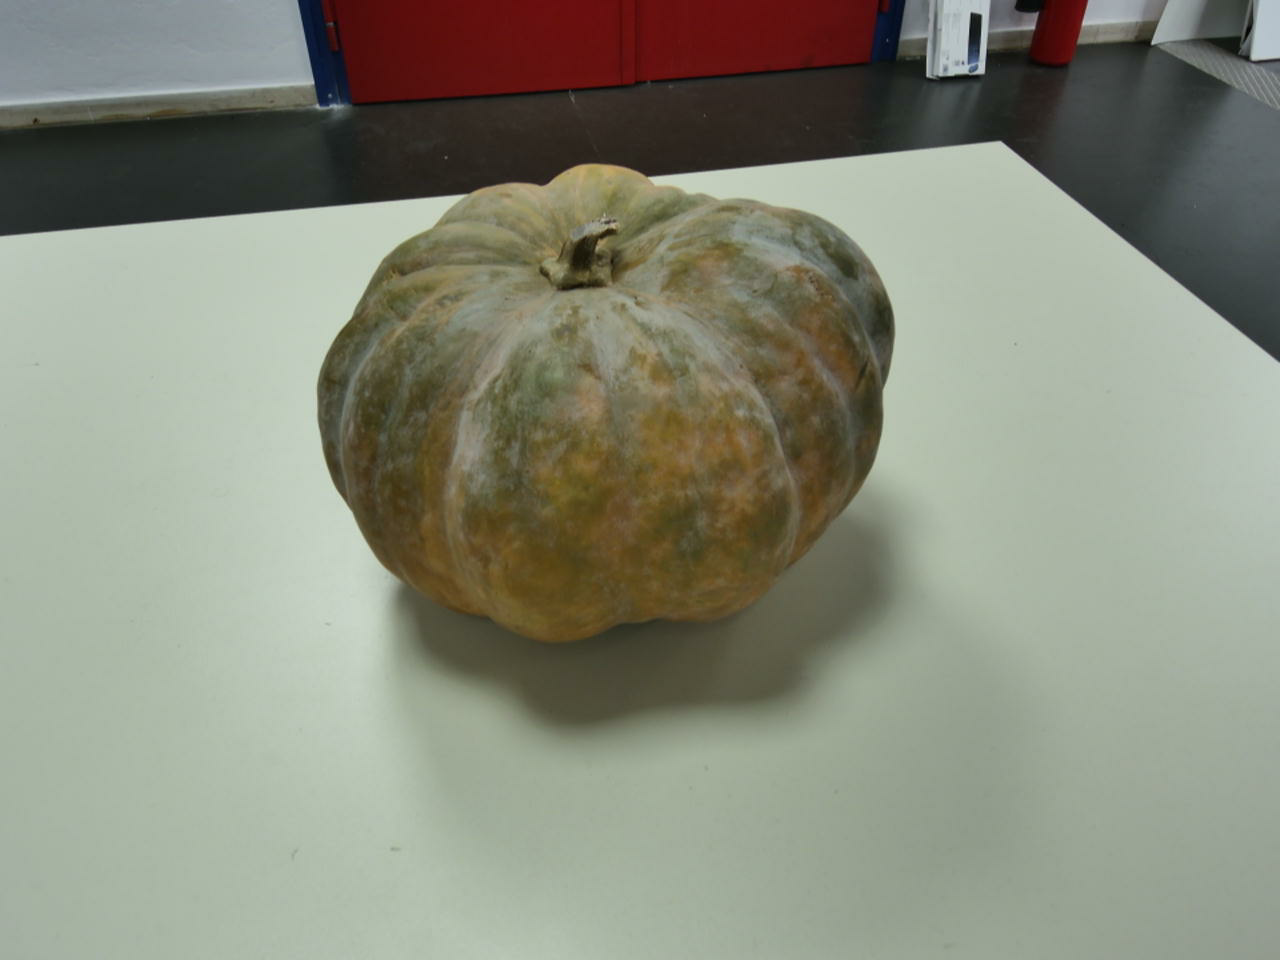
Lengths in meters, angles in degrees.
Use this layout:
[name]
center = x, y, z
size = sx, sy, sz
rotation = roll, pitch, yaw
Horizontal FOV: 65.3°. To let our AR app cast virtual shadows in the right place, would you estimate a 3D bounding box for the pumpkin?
[pumpkin]
center = -0.019, -0.040, 0.453
size = 0.252, 0.169, 0.251
rotation = 0, 39, 0
